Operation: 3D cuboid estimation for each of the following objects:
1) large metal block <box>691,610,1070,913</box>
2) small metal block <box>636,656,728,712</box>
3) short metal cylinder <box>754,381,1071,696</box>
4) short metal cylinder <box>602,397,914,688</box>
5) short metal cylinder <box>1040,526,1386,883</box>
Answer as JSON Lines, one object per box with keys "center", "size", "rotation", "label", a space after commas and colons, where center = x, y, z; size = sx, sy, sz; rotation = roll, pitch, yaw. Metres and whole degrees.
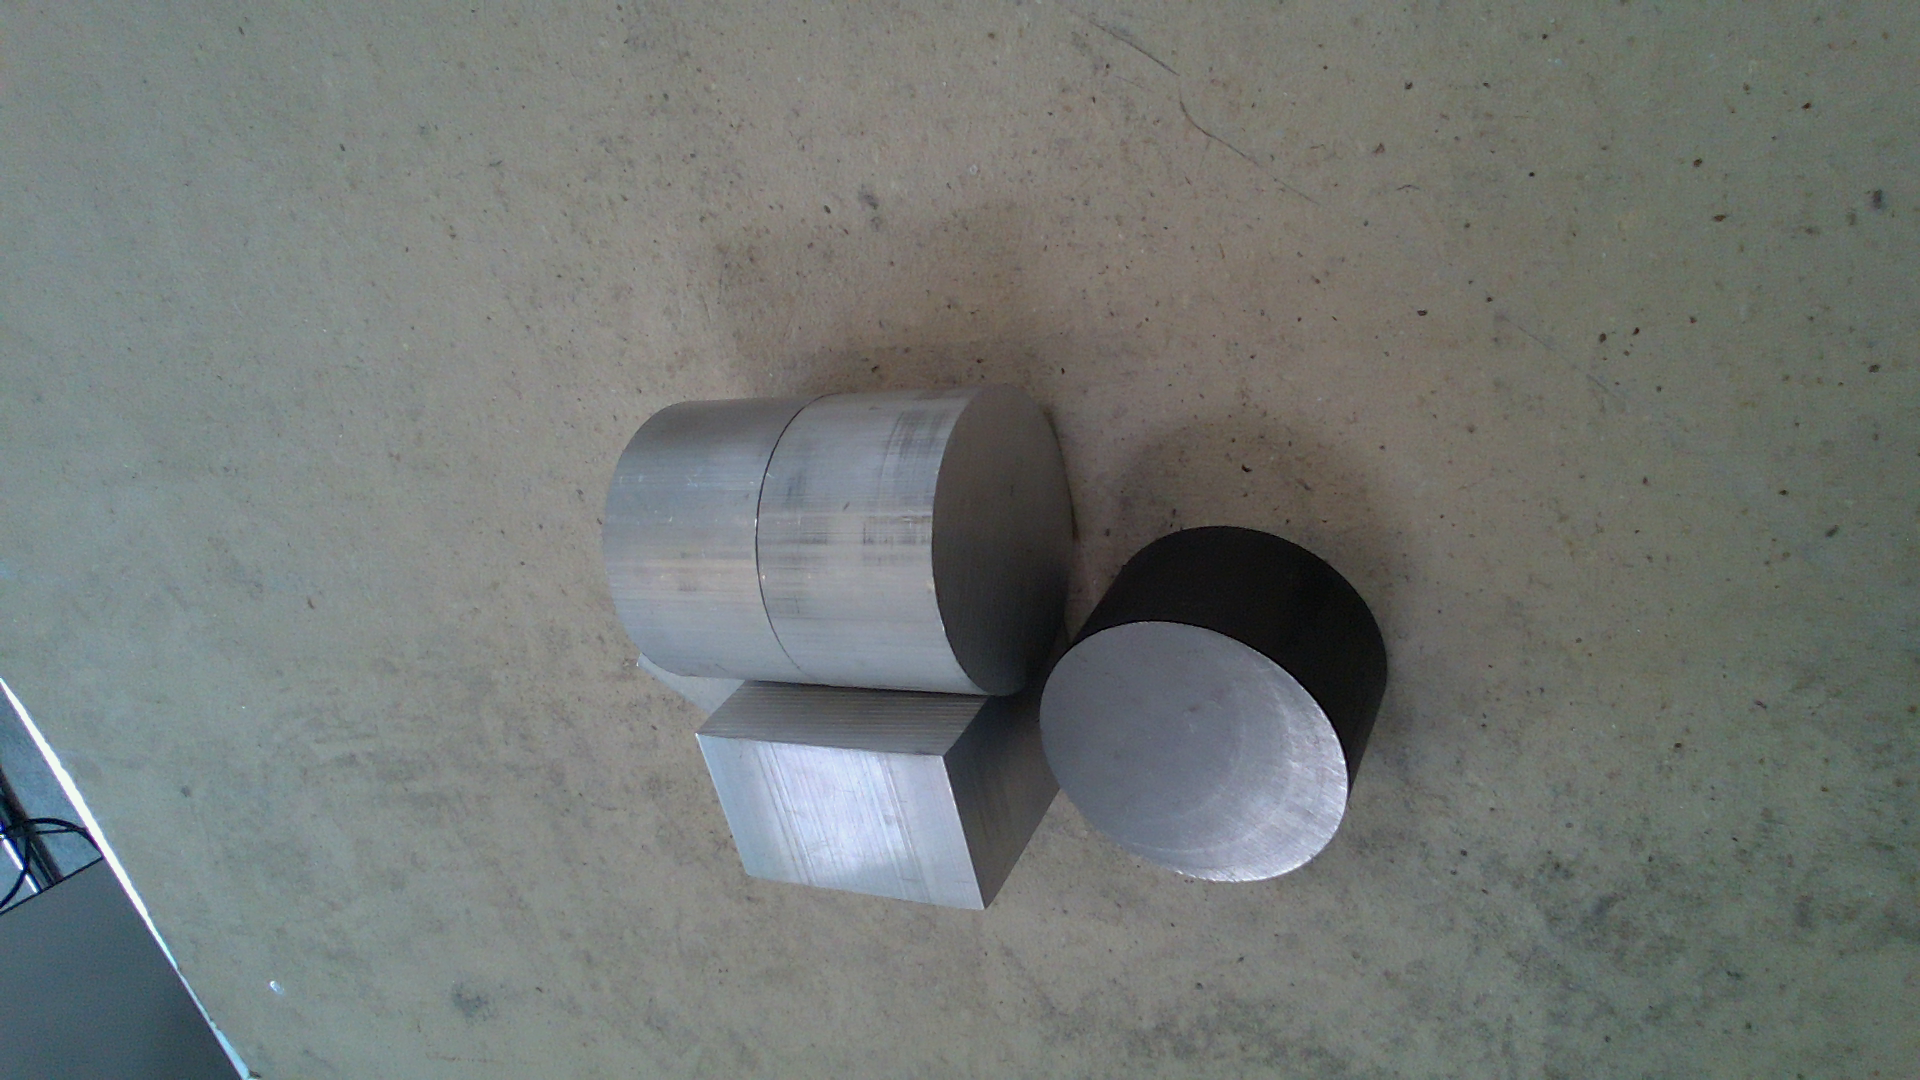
{"center": [-0.017, 0.057, 0.403], "size": [0.080, 0.080, 0.050], "rotation": [1, 119, 28], "label": "large metal block"}
{"center": [-0.074, 0.032, 0.453], "size": [0.050, 0.025, 0.050], "rotation": [33, 129, 7], "label": "small metal block"}
{"center": [-0.010, -0.001, 0.363], "size": [0.050, 0.080, 0.080], "rotation": [1, 119, 28], "label": "short metal cylinder"}
{"center": [-0.054, 0.000, 0.387], "size": [0.050, 0.080, 0.080], "rotation": [1, 119, 28], "label": "short metal cylinder"}
{"center": [0.068, 0.043, 0.367], "size": [0.080, 0.050, 0.080], "rotation": [13, 124, 21], "label": "short metal cylinder"}
